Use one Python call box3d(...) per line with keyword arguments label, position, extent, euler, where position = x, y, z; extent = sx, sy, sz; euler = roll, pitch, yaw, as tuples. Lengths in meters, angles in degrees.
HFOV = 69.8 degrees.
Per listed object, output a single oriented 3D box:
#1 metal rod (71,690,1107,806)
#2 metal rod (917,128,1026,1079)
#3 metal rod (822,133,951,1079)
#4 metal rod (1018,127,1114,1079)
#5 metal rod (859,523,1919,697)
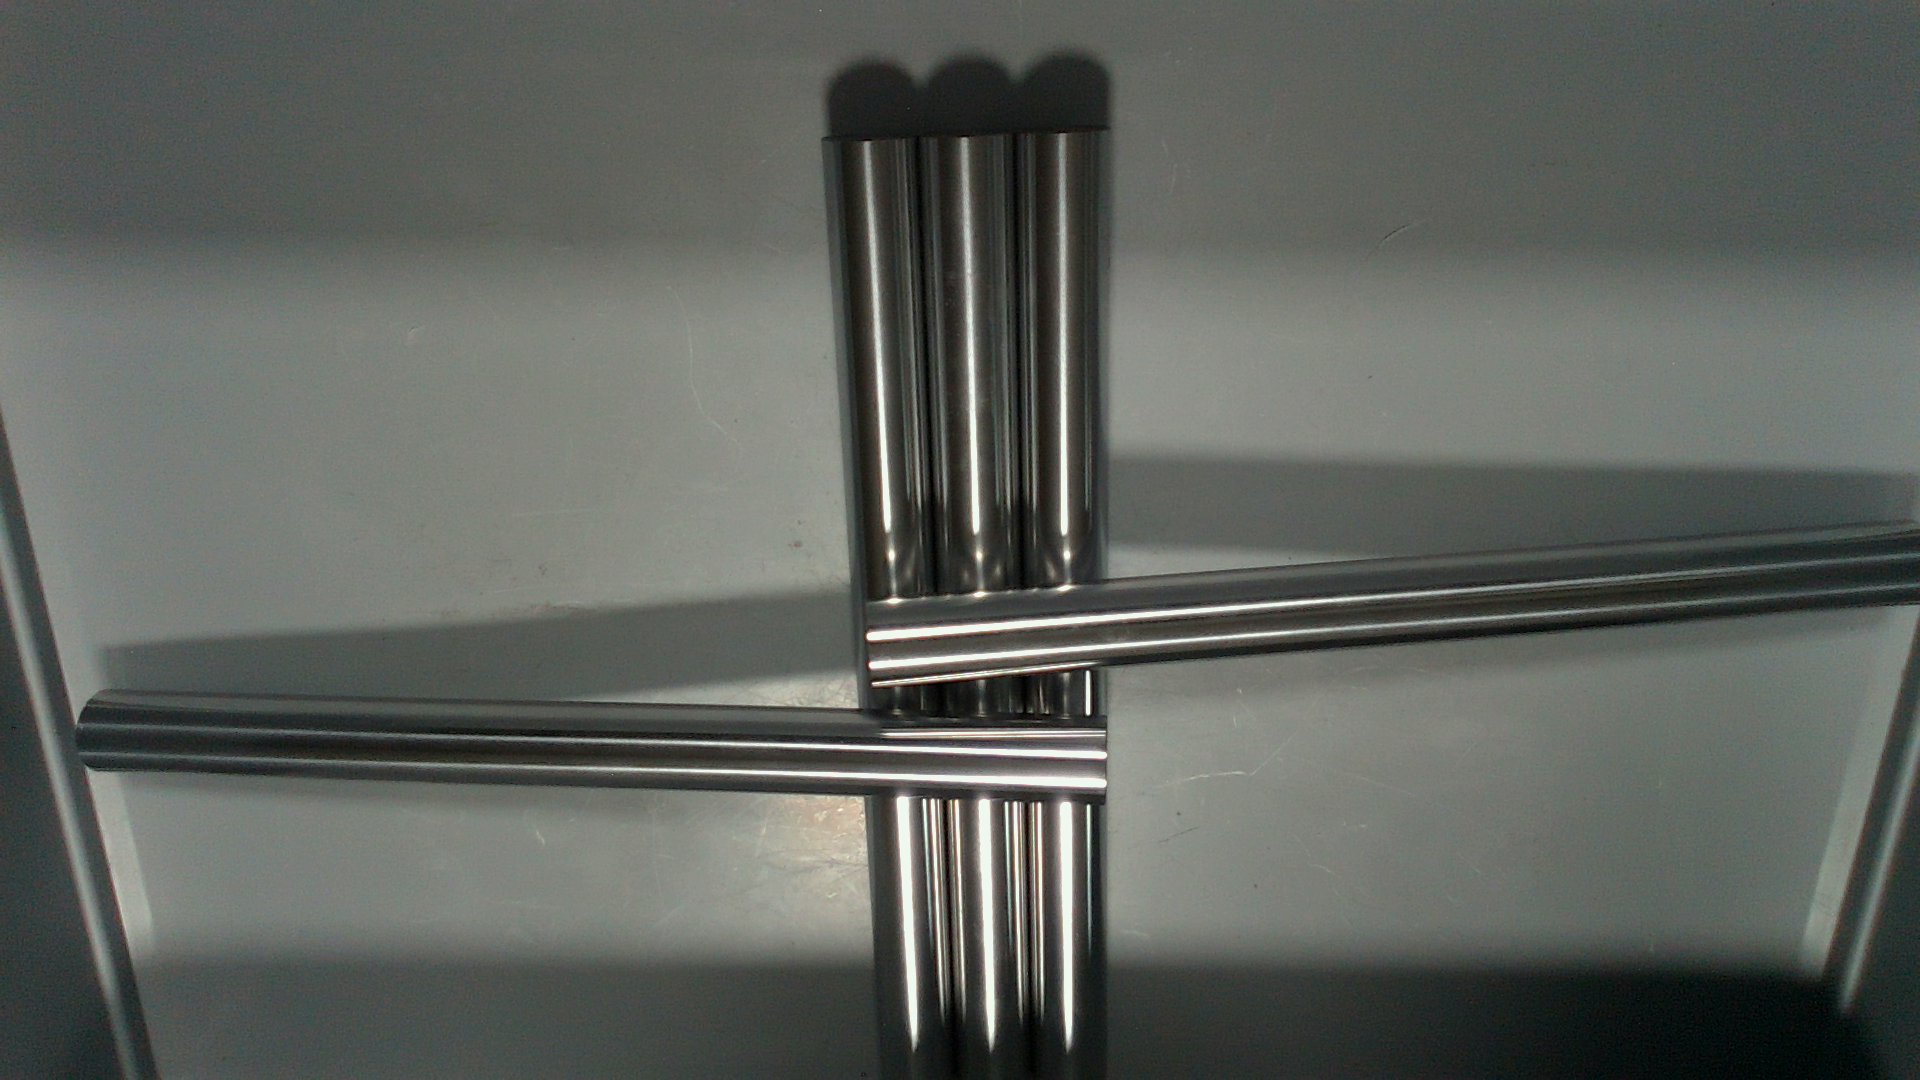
box3d(label="metal rod", position=(-0.108, 0.059, 0.397), extent=(0.300, 0.025, 0.025), euler=(1, 110, 6))
box3d(label="metal rod", position=(0.005, 0.035, 0.406), extent=(0.025, 0.025, 0.300), euler=(-2, 110, 1))
box3d(label="metal rod", position=(-0.019, 0.036, 0.406), extent=(0.025, 0.025, 0.300), euler=(-2, 110, 1))
box3d(label="metal rod", position=(0.031, 0.035, 0.406), extent=(0.025, 0.025, 0.300), euler=(-2, 110, 1))
box3d(label="metal rod", position=(0.123, 0.018, 0.382), extent=(0.300, 0.025, 0.025), euler=(-4, 110, -5))
